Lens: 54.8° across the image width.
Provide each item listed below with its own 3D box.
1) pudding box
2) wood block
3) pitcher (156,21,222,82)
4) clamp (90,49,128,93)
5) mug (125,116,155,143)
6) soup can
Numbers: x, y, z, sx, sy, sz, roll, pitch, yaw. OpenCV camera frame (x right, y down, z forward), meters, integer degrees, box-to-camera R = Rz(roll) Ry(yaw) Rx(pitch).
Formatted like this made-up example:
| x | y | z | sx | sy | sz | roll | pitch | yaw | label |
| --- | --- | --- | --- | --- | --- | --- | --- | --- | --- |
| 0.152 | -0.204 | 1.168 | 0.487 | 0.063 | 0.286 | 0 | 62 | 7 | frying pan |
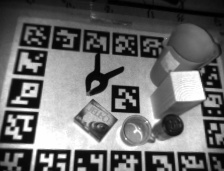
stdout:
| x | y | z | sx | sy | sz | roll | pitch | yaw | label |
| --- | --- | --- | --- | --- | --- | --- | --- | --- | --- |
| -0.048 | 0.104 | 0.710 | 0.113 | 0.039 | 0.090 | 37 | 71 | 8 | pudding box |
| 0.212 | 0.024 | 0.685 | 0.090 | 0.206 | 0.090 | 0 | 68 | -11 | wood block |
| 0.238 | -0.093 | 0.719 | 0.189 | 0.243 | 0.133 | 1 | 66 | -4 | pitcher |
| -0.027 | -0.043 | 0.776 | 0.122 | 0.036 | 0.165 | 32 | 68 | -3 | clamp |
| 0.095 | 0.145 | 0.689 | 0.117 | 0.081 | 0.093 | 36 | 66 | 8 | mug |
| 0.189 | 0.126 | 0.699 | 0.068 | 0.102 | 0.067 | 2 | 71 | -6 | soup can |
